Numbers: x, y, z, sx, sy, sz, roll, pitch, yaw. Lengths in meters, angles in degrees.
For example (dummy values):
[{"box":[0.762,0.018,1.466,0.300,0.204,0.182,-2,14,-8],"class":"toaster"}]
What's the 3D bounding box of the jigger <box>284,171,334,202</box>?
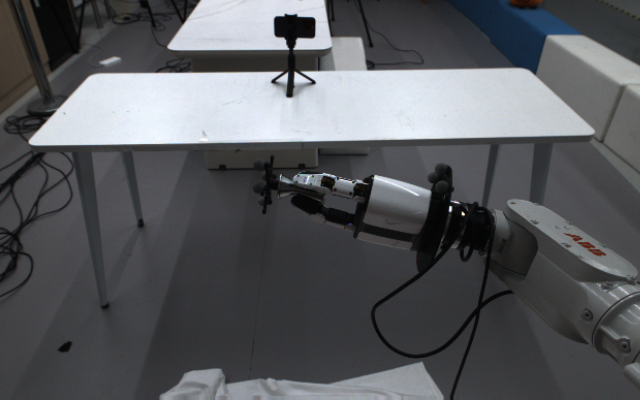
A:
[{"box":[-0.019,-0.022,0.715,0.071,0.043,0.043,5,35,2],"class":"jigger"}]
